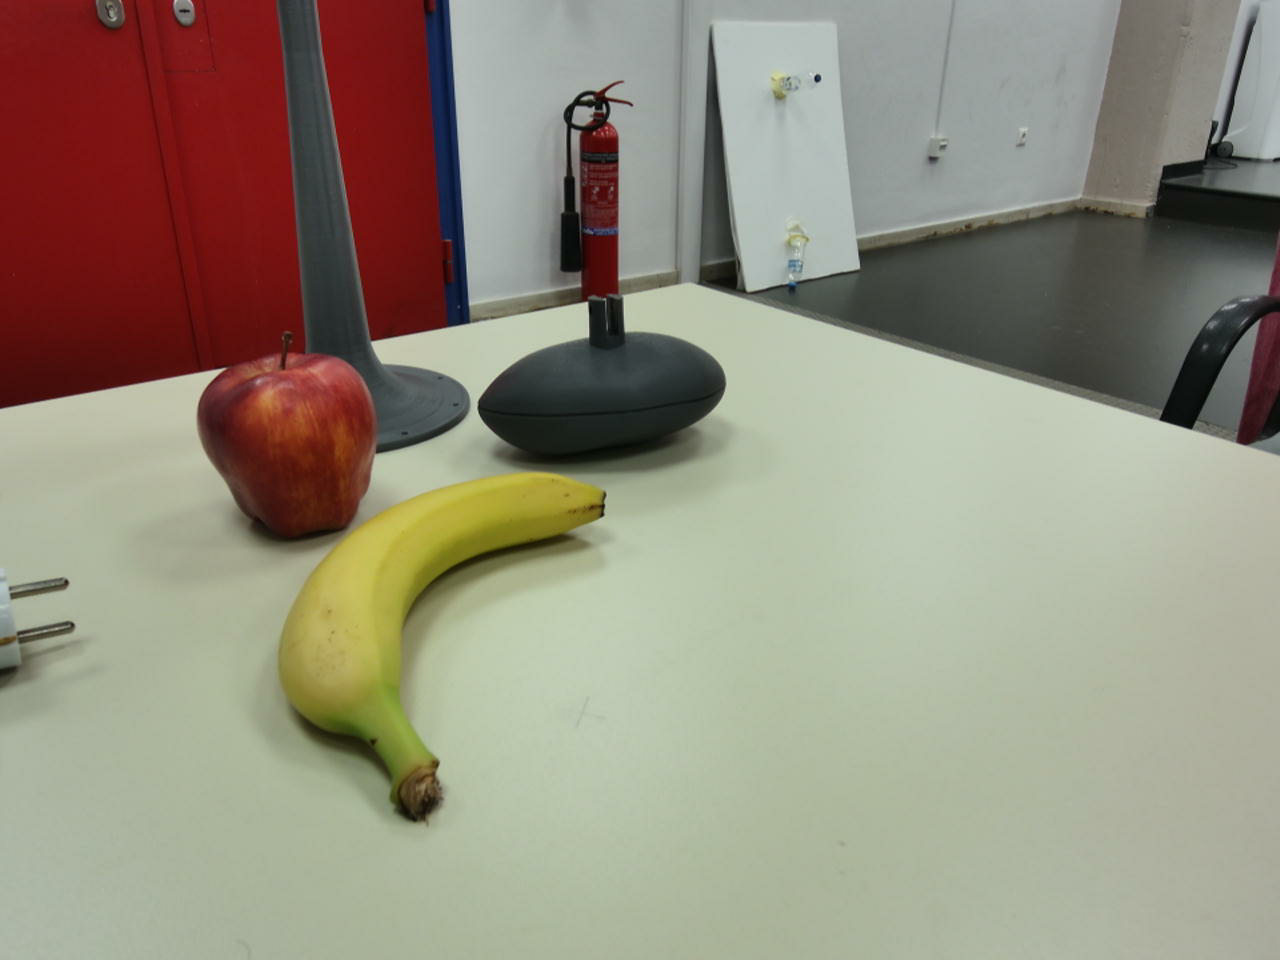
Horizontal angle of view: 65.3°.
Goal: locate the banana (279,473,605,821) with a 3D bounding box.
[{"bbox_3d":[-0.082,0.043,0.391,0.094,0.041,0.196,7,24,13],"label":"banana"}]
